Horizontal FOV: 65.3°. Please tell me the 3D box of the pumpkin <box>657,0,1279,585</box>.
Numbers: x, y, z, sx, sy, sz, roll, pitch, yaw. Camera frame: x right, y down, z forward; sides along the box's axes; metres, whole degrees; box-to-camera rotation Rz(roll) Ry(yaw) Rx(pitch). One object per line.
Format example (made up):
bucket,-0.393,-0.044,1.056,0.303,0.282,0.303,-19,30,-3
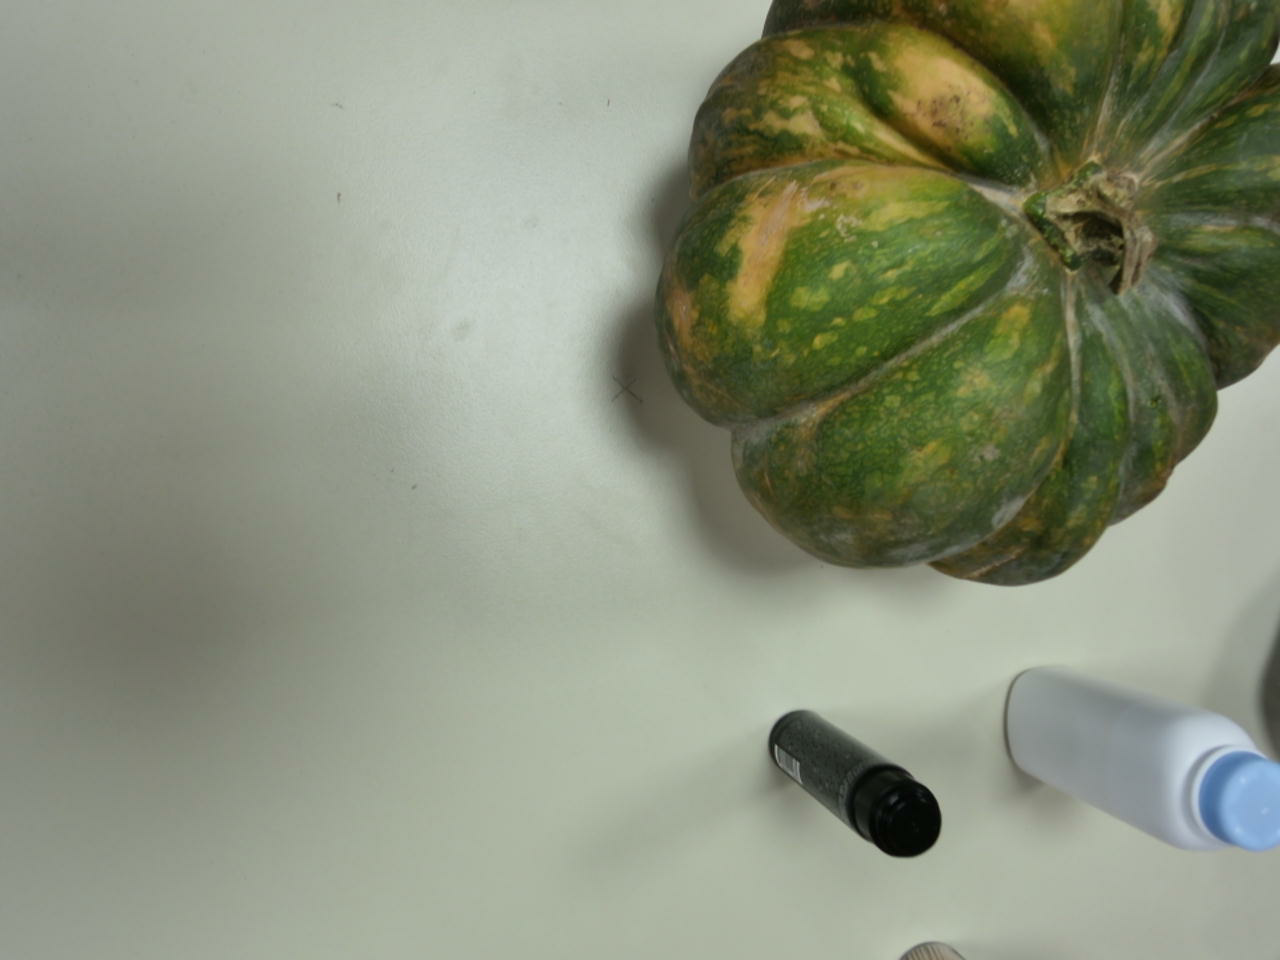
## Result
pumpkin,0.133,-0.089,0.376,0.237,0.173,0.270,28,85,-11
